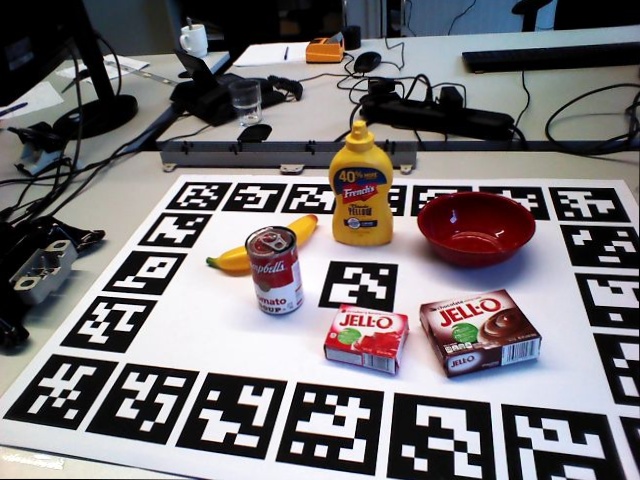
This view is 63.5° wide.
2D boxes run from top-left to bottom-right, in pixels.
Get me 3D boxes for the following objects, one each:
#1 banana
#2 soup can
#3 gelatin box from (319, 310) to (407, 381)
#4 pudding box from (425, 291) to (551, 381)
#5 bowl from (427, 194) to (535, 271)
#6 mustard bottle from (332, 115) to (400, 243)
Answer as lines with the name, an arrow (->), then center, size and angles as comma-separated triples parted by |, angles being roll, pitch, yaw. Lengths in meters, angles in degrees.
banana -> -0.076, 0.001, 0.807 | 0.196, 0.039, 0.074 | -26, 29, -25
soup can -> -0.064, 0.035, 0.686 | 0.068, 0.102, 0.067 | -3, 34, 2
gelatin box -> 0.053, 0.123, 0.617 | 0.090, 0.030, 0.073 | 6, 41, 20
pudding box -> 0.191, 0.109, 0.604 | 0.114, 0.039, 0.090 | -12, 41, -6
bowl -> 0.237, -0.004, 0.746 | 0.162, 0.055, 0.161 | -6, 34, 4
mustard bottle -> 0.066, -0.088, 0.753 | 0.096, 0.192, 0.058 | 3, 34, 14
